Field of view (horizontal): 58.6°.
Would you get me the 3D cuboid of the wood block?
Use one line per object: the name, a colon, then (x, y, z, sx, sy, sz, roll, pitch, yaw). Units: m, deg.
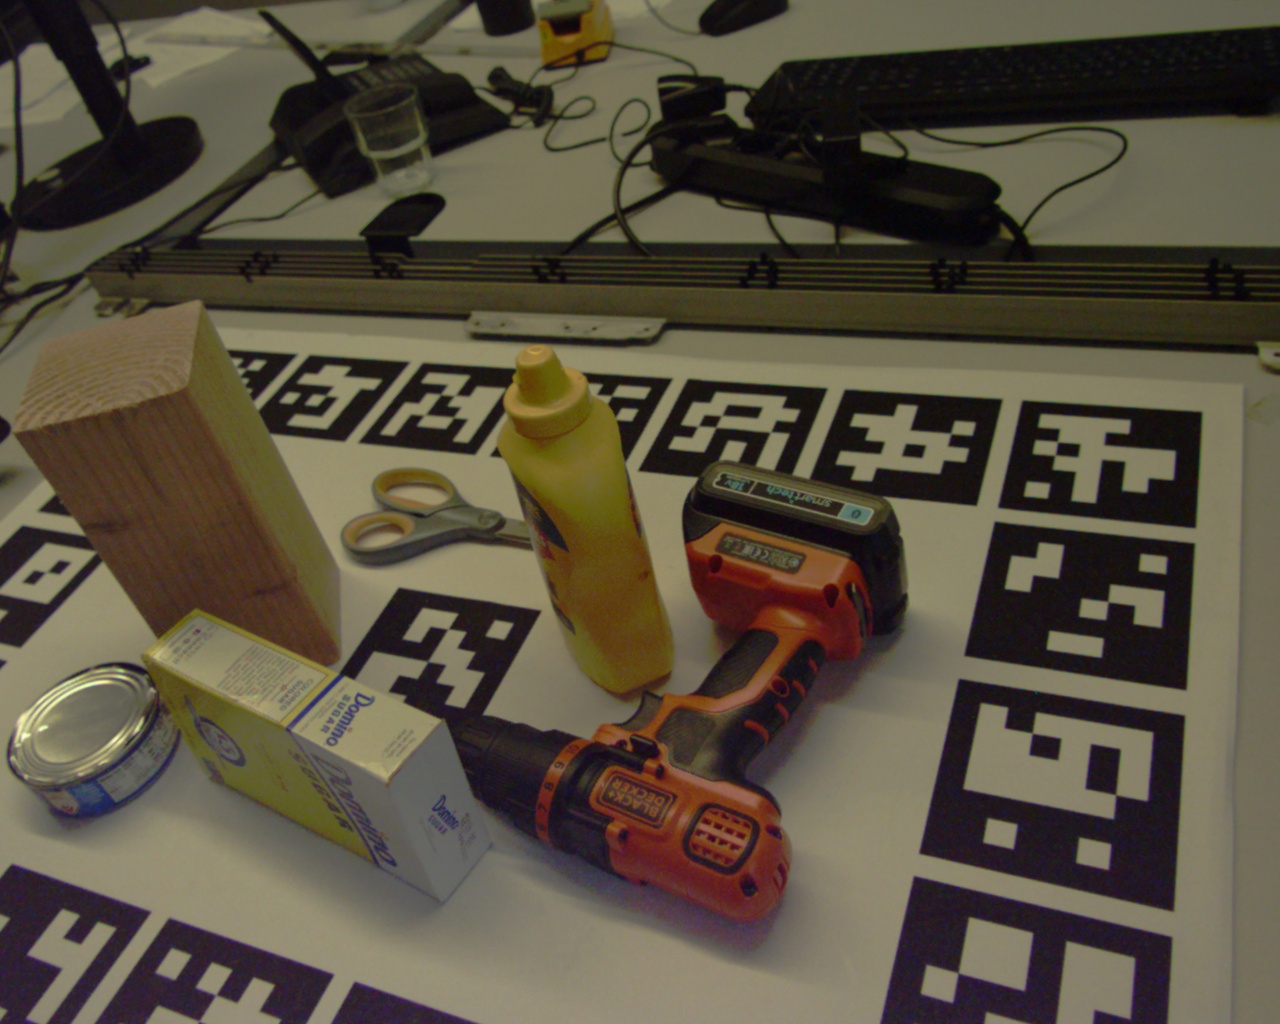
wood block: (-0.250, 0.000, 0.672, 0.091, 0.204, 0.090, -15, 43, 2)

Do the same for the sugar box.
sugar box: (-0.157, 0.116, 0.592, 0.179, 0.092, 0.045, 17, 48, 29)

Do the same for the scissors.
scissors: (-0.126, -0.002, 0.759, 0.205, 0.016, 0.087, 7, 44, 24)

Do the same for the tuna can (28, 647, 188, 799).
tuna can: (-0.309, 0.123, 0.669, 0.086, 0.033, 0.086, -9, 44, 8)

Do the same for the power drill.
power drill: (0.006, 0.080, 0.601, 0.187, 0.057, 0.186, 17, 59, 32)

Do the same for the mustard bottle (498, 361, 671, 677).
mustard bottle: (-0.033, -0.002, 0.613, 0.058, 0.190, 0.097, -23, 44, -7)
